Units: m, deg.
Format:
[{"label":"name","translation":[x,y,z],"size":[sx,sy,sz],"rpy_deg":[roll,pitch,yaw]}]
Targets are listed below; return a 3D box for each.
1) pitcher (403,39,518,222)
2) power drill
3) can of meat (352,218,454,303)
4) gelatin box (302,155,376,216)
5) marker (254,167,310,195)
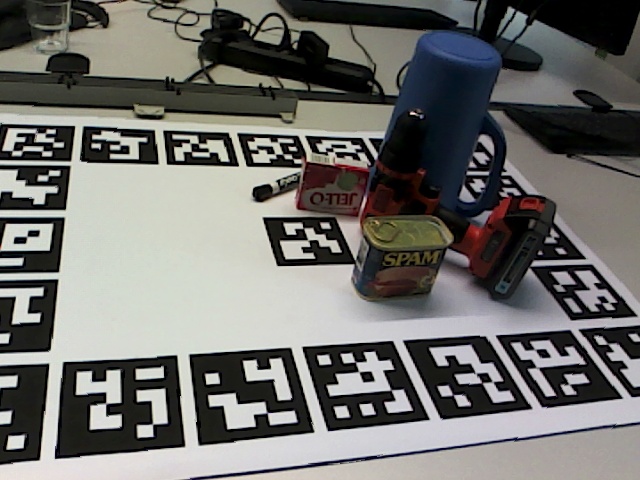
[{"label":"pitcher","translation":[0.177,-0.135,0.838],"size":[0.189,0.242,0.133],"rpy_deg":[15,40,13]},{"label":"power drill","translation":[0.151,-0.052,0.760],"size":[0.187,0.184,0.057],"rpy_deg":[26,41,7]},{"label":"can of meat","translation":[0.093,0.024,0.720],"size":[0.101,0.083,0.058],"rpy_deg":[-1,37,-18]},{"label":"gelatin box","translation":[0.026,-0.071,0.840],"size":[0.089,0.073,0.030],"rpy_deg":[8,41,-9]},{"label":"marker","translation":[-0.043,-0.087,0.879],"size":[0.120,0.019,0.020],"rpy_deg":[-22,50,-36]}]
